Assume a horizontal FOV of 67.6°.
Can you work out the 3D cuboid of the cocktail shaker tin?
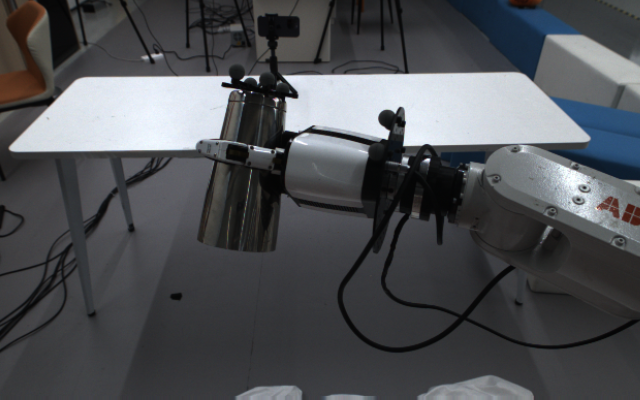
[{"bbox_3d":[-0.082,-0.032,0.557,0.093,0.170,0.093,9,3,0],"label":"cocktail shaker tin"}]
